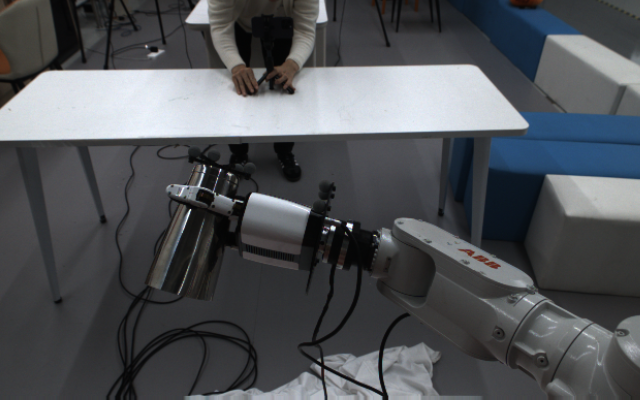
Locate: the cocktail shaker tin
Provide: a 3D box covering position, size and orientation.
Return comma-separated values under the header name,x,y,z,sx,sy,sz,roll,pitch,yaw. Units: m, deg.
name,x,y,z,sx,sy,sz,roll,pitch,yaw
cocktail shaker tin,-0.163,0.040,0.659,0.093,0.093,0.170,13,80,16
